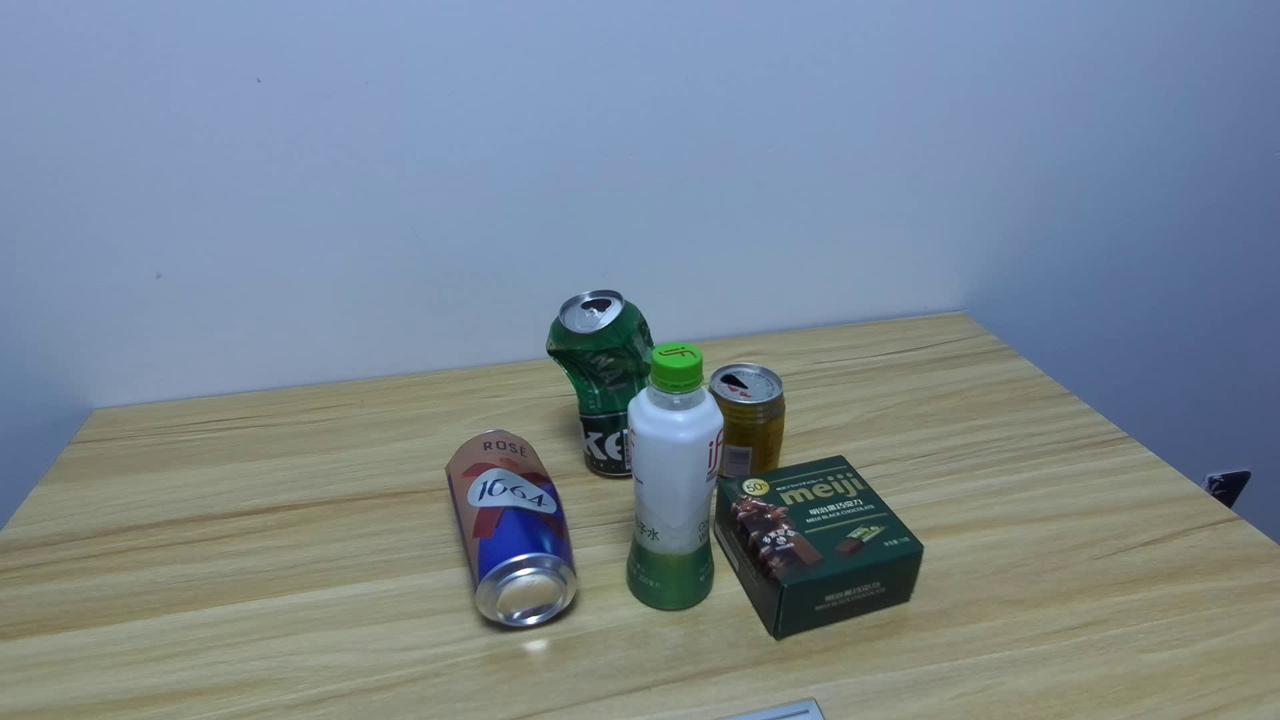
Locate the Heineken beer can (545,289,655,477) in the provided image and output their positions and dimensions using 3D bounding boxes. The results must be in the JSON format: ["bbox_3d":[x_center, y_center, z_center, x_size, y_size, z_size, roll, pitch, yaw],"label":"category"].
[{"bbox_3d":[-0.021,0.021,0.597,0.079,0.159,0.067,-27,37,-25],"label":"Heineken beer can"}]

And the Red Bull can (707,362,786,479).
[{"bbox_3d":[0.084,0.057,0.591,0.069,0.092,0.069,1,31,0],"label":"Red Bull can"}]

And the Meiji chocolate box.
[{"bbox_3d":[0.125,0.131,0.512,0.110,0.056,0.109,-9,31,-15],"label":"Meiji chocolate box"}]

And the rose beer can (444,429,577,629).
[{"bbox_3d":[-0.096,0.116,0.527,0.070,0.069,0.167,-26,34,-4],"label":"rose beer can"}]

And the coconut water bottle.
[{"bbox_3d":[0.022,0.078,0.464,0.063,0.189,0.063,0,31,0],"label":"coconut water bottle"}]
